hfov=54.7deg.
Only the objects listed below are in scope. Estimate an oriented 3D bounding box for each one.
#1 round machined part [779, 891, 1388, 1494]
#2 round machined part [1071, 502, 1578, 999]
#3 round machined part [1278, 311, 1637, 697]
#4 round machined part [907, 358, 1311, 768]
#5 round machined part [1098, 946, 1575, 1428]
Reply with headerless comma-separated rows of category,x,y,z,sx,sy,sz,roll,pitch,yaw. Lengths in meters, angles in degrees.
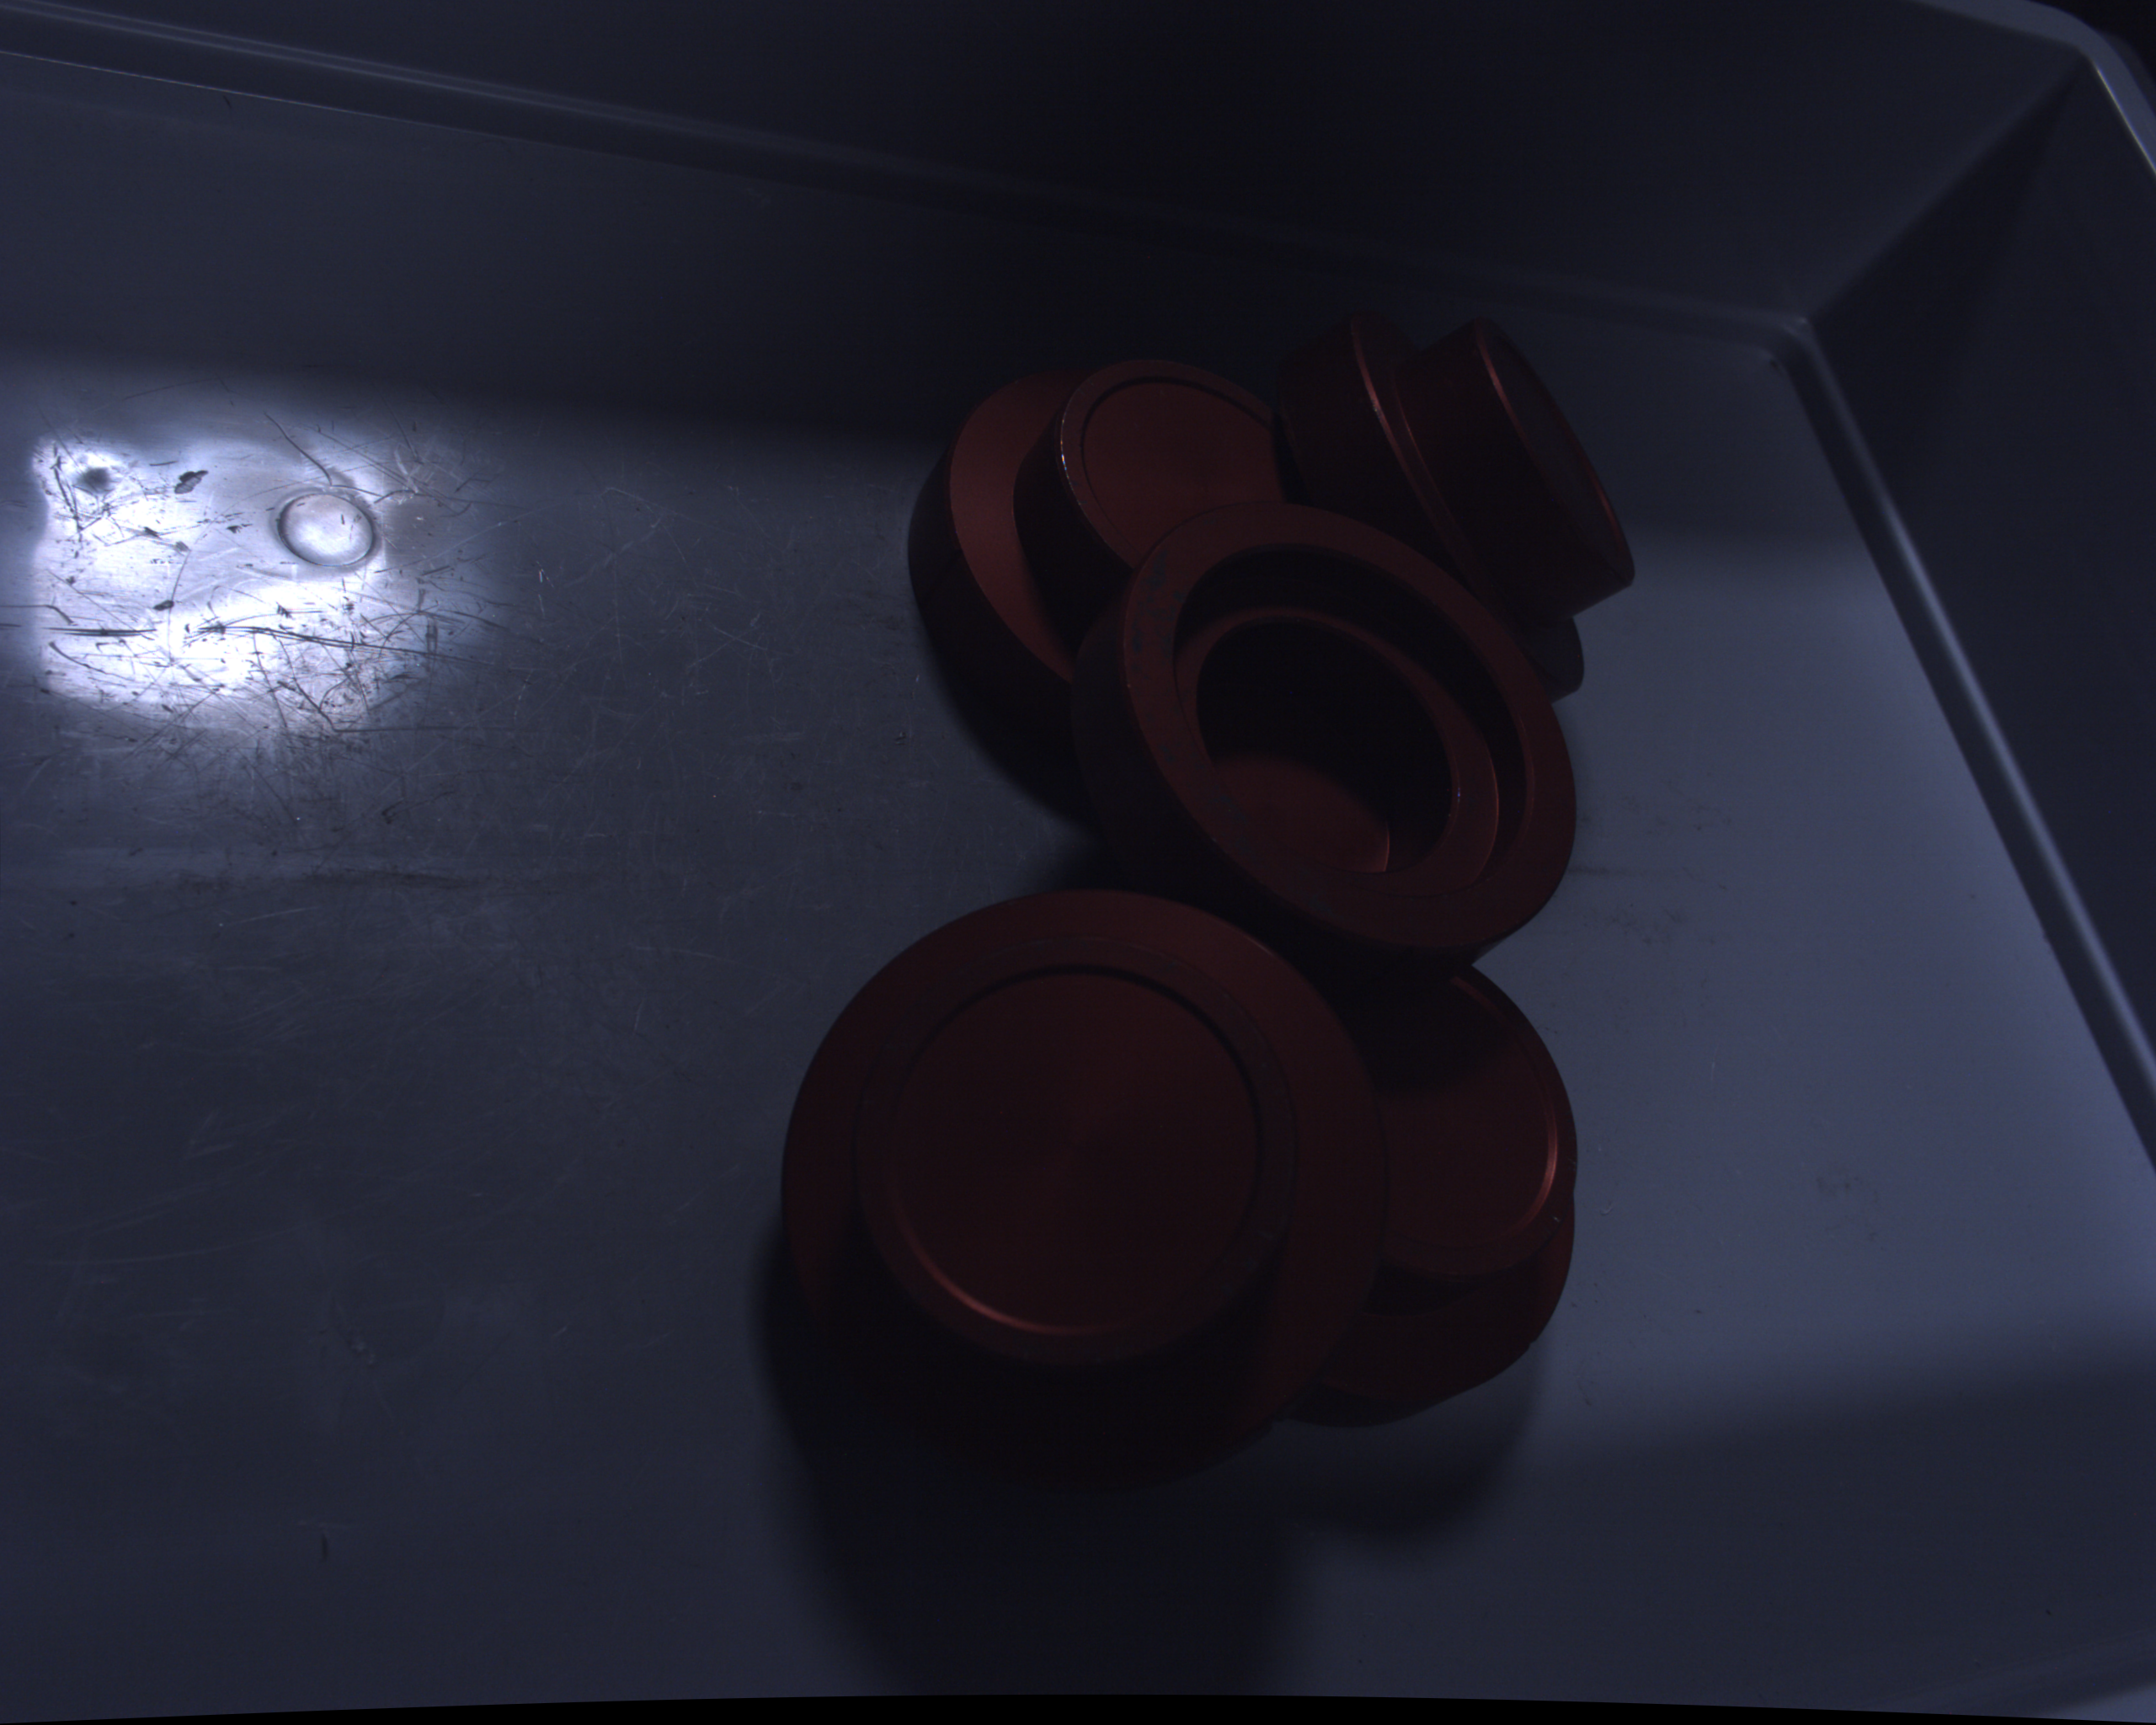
round machined part,0.000,0.050,0.337,0.099,0.042,0.098,-1,69,3
round machined part,0.043,-0.018,0.400,0.099,0.042,0.098,14,56,-21
round machined part,0.089,-0.081,0.465,0.098,0.042,0.098,44,29,-32
round machined part,0.017,-0.068,0.444,0.099,0.042,0.098,14,56,-21
round machined part,0.053,0.052,0.391,0.099,0.042,0.098,14,56,-21
